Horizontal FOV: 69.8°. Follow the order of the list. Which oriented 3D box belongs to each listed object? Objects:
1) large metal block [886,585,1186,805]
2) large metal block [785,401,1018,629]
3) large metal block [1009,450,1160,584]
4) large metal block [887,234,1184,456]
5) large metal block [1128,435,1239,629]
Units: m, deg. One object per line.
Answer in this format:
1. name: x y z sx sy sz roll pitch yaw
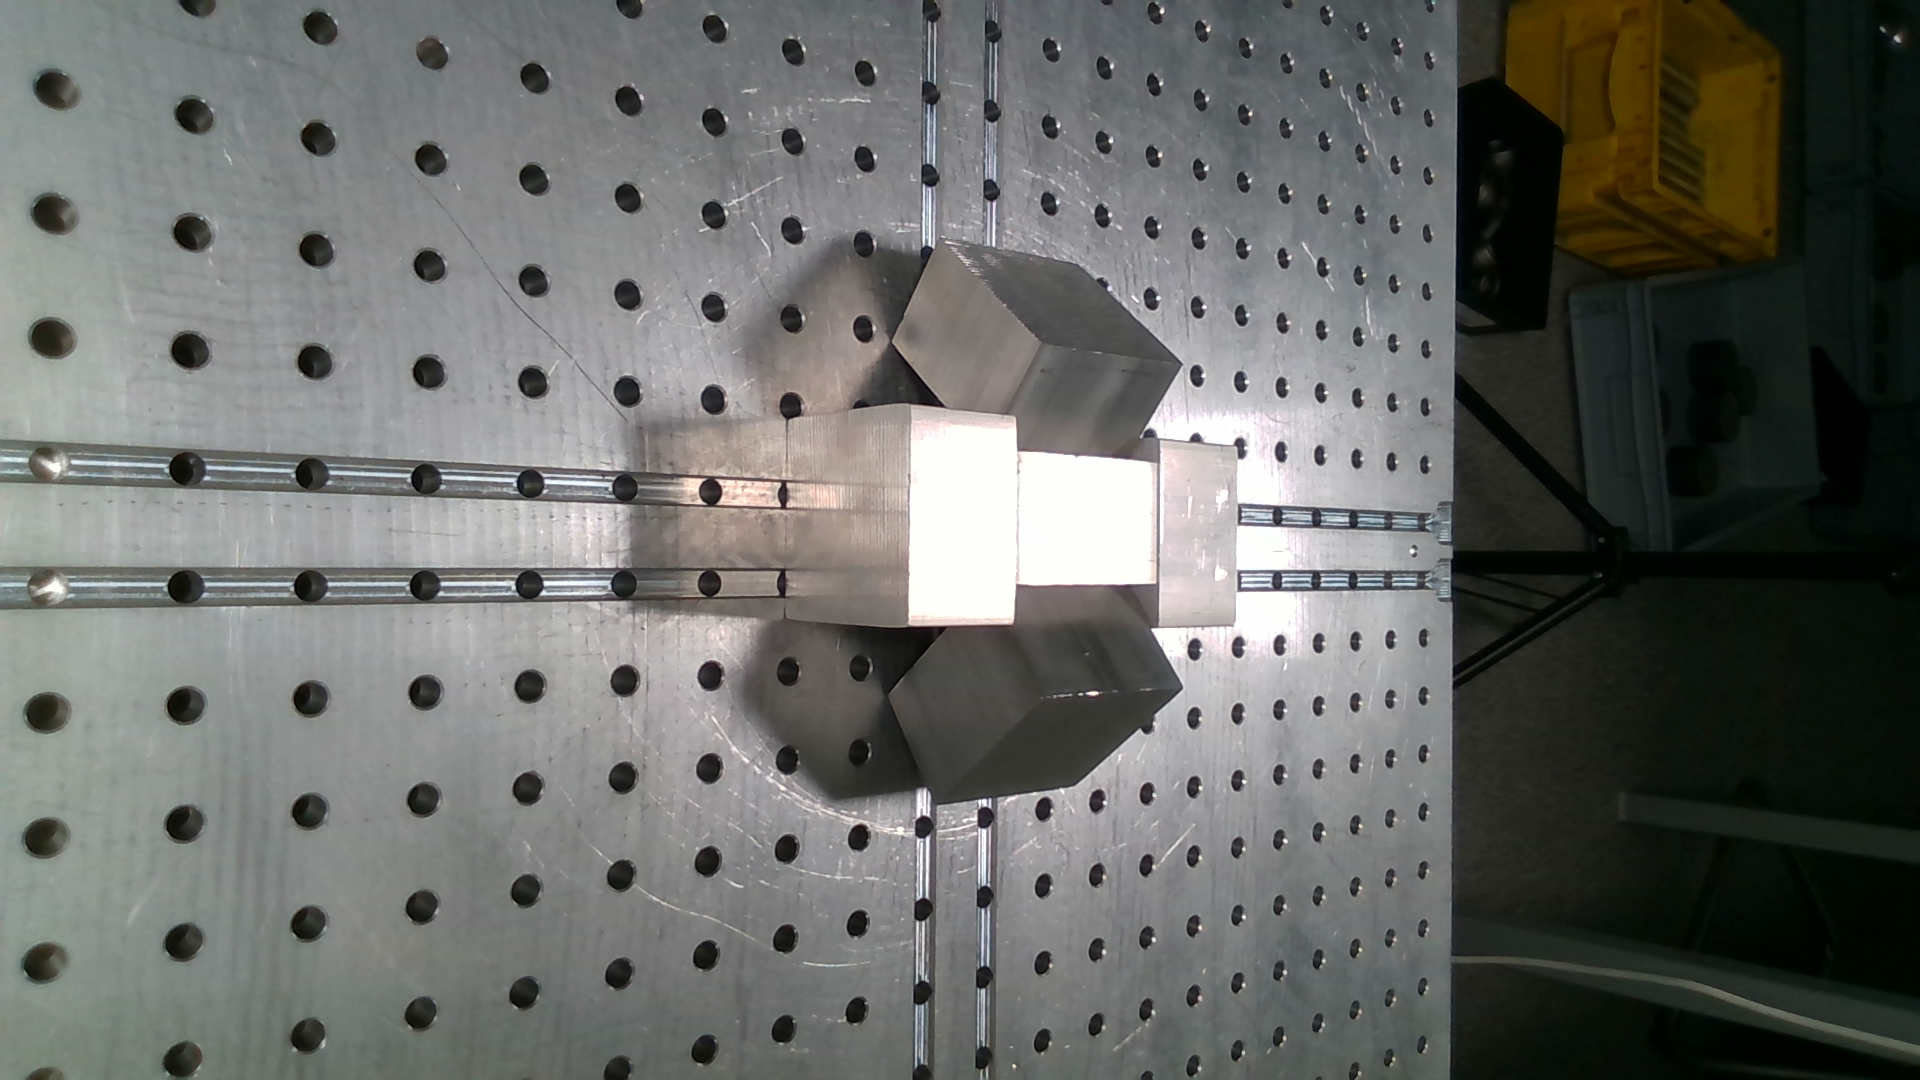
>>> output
1. large metal block: 0.030 0.063 0.565 0.080 0.080 0.050 1 51 -41
2. large metal block: -0.024 -0.008 0.529 0.050 0.080 0.080 1 89 -40
3. large metal block: 0.025 -0.008 0.570 0.080 0.080 0.050 1 89 -40
4. large metal block: 0.030 -0.078 0.567 0.080 0.080 0.050 1 129 -40
5. large metal block: 0.076 -0.003 0.613 0.050 0.080 0.080 1 89 -40
